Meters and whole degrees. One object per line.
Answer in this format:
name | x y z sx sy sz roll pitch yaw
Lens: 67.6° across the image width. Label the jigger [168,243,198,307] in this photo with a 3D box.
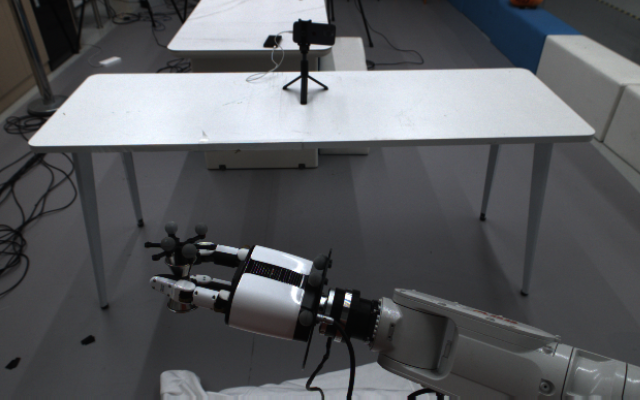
jigger | -0.179 0.105 0.636 0.043 0.071 0.043 2 20 -1
